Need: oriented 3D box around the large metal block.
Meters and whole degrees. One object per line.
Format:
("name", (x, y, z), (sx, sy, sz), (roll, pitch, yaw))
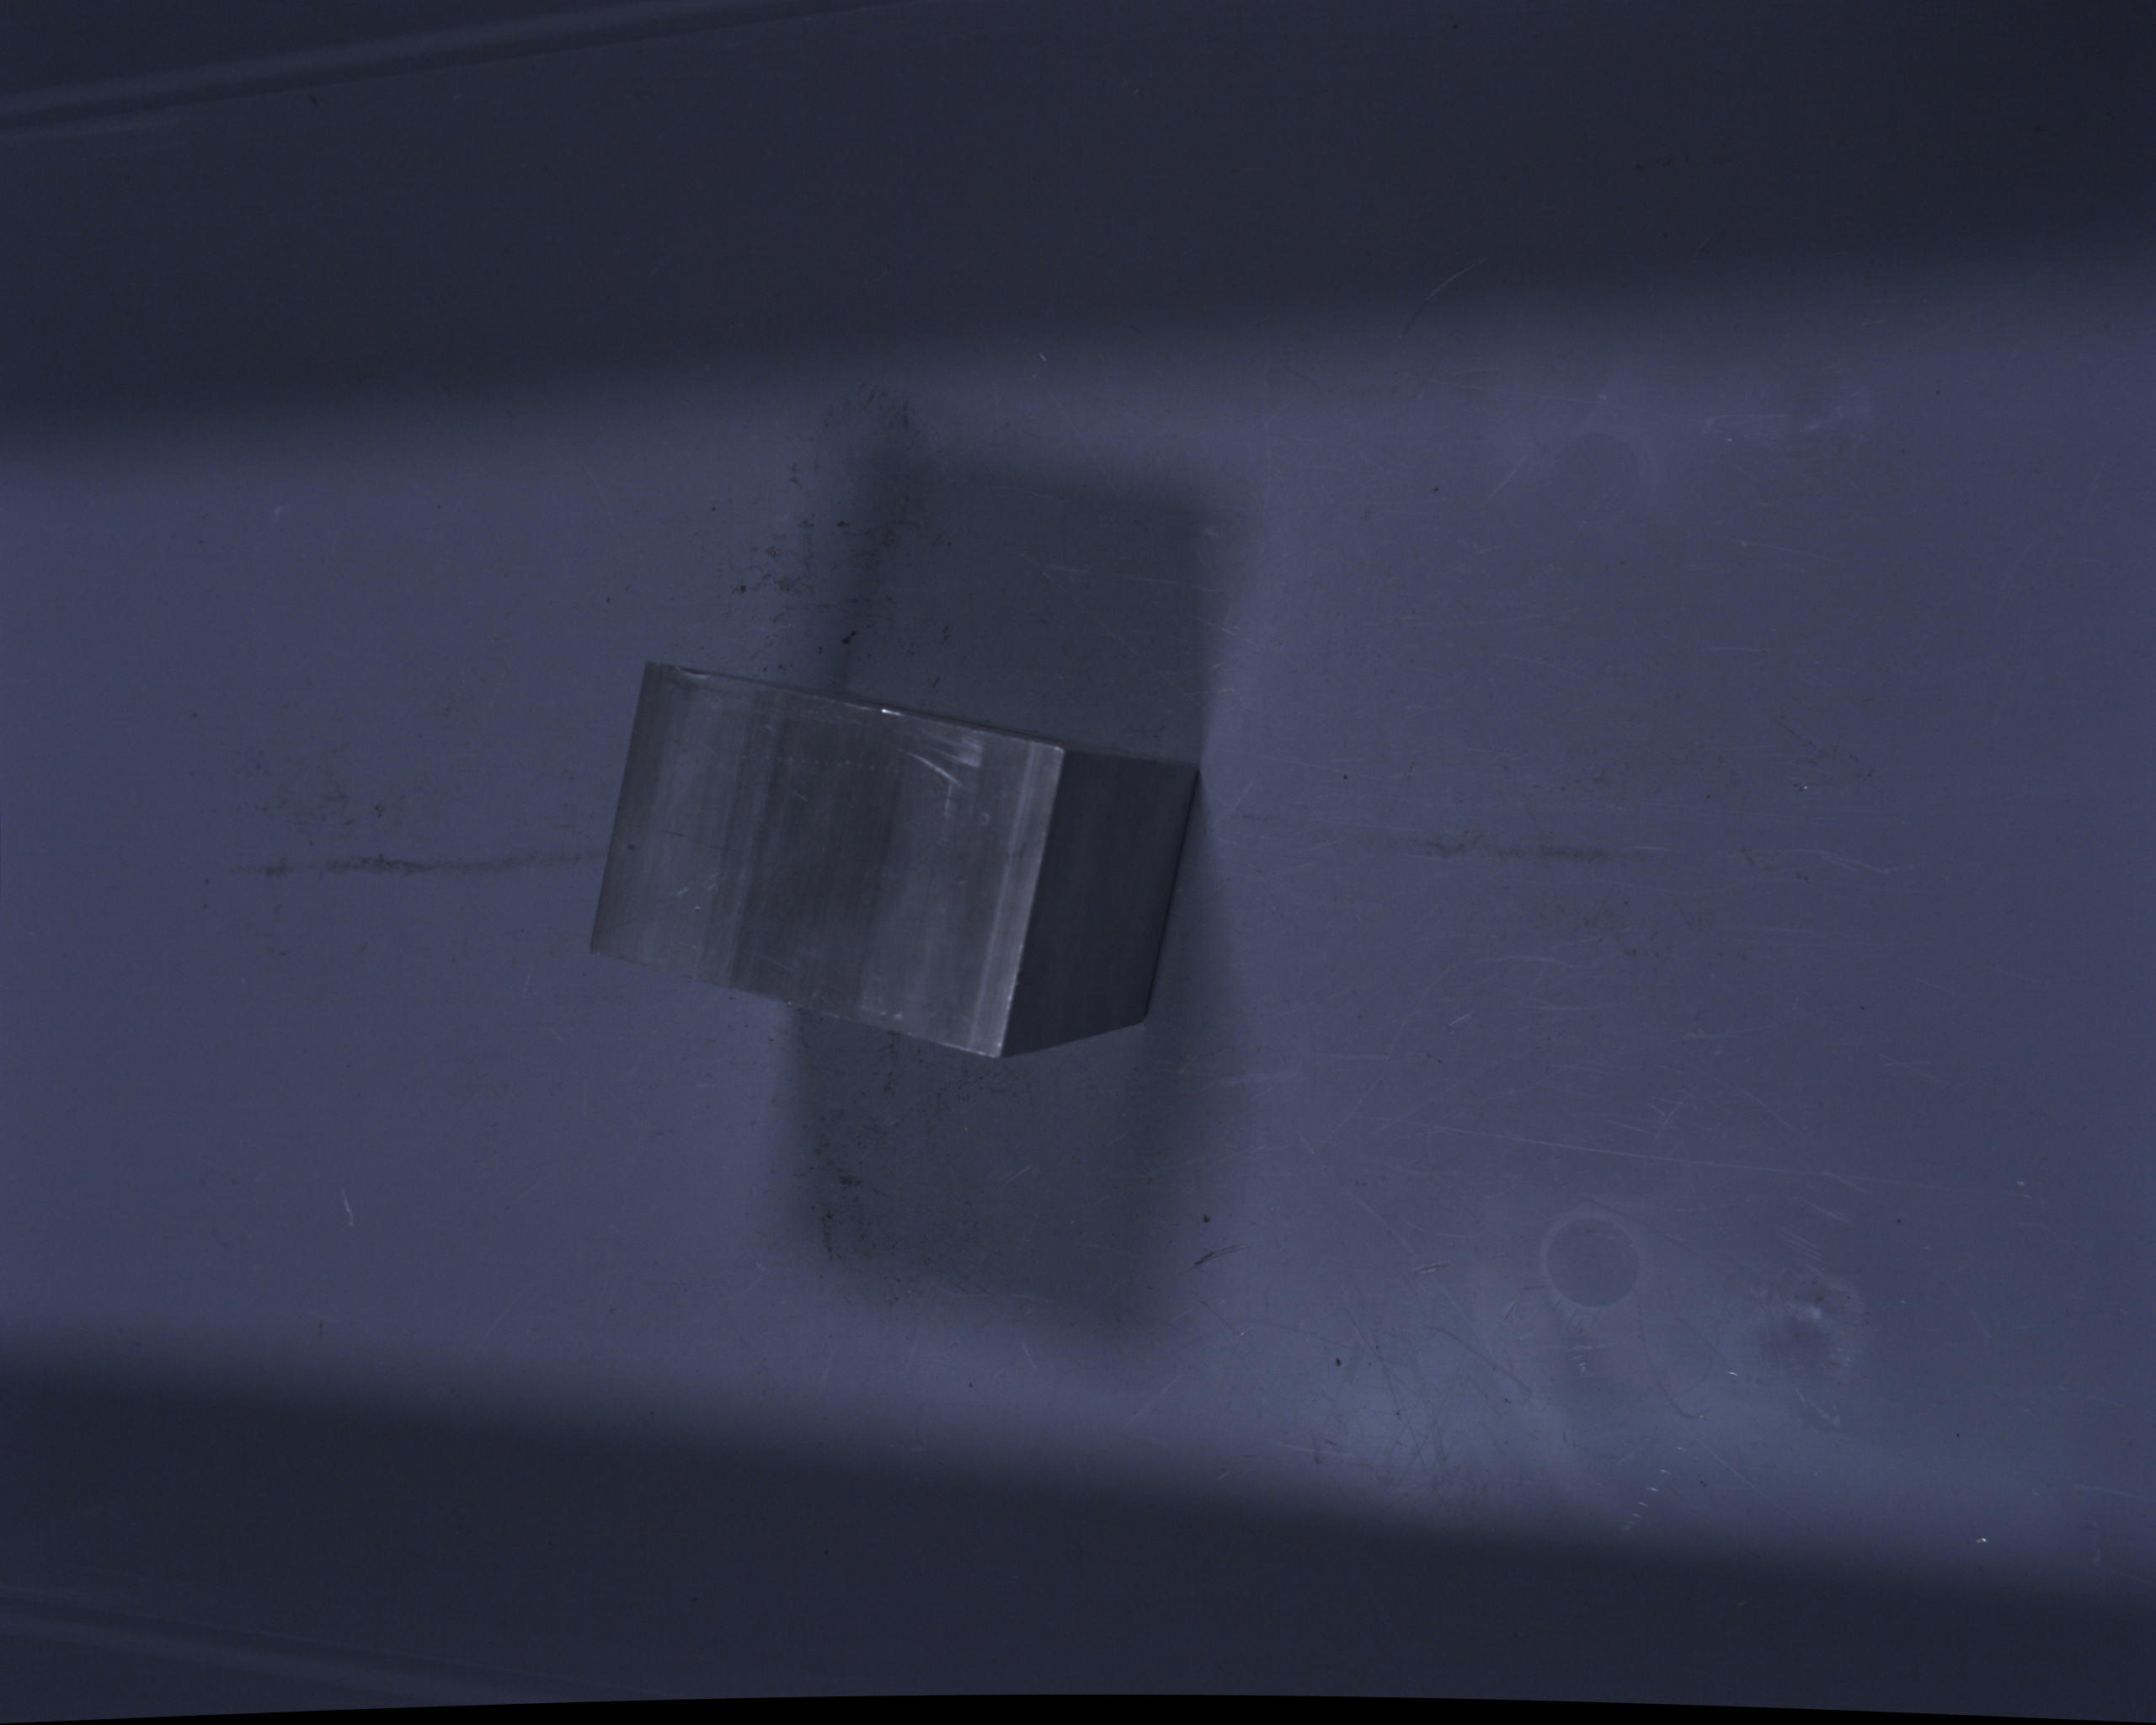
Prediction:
("large metal block", (-0.030, -0.001, 0.388), (0.080, 0.080, 0.050), (13, 95, 19))
